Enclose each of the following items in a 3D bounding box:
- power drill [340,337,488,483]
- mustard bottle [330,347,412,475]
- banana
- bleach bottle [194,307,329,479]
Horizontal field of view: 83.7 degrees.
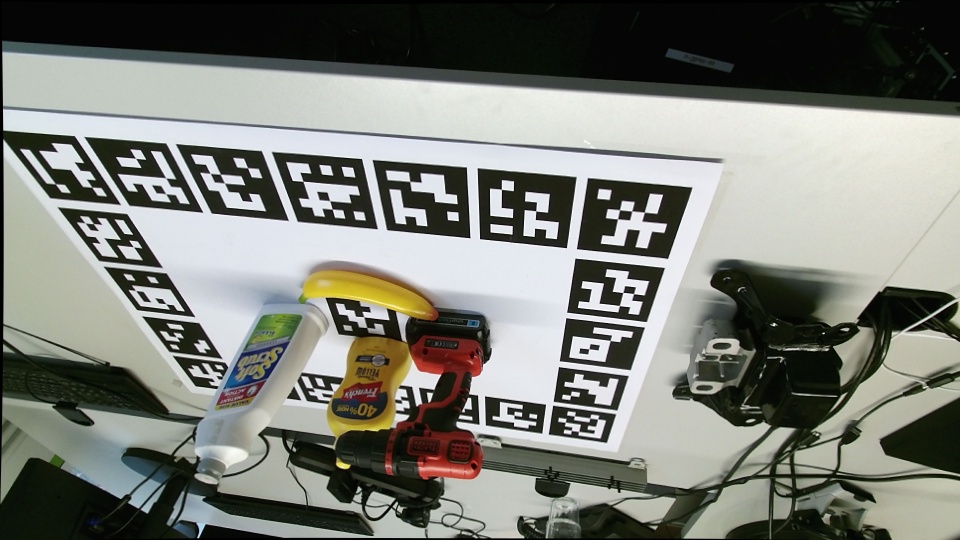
[{"bbox_3d":[-0.071,0.181,0.703,0.185,0.186,0.057,5,141,12],"label":"power drill"},{"bbox_3d":[-0.168,0.201,0.771,0.096,0.190,0.058,7,135,8],"label":"mustard bottle"},{"bbox_3d":[-0.163,0.047,0.724,0.198,0.038,0.074,7,131,4],"label":"banana"},{"bbox_3d":[-0.301,0.161,0.732,0.103,0.249,0.068,0,132,13],"label":"bleach bottle"}]
